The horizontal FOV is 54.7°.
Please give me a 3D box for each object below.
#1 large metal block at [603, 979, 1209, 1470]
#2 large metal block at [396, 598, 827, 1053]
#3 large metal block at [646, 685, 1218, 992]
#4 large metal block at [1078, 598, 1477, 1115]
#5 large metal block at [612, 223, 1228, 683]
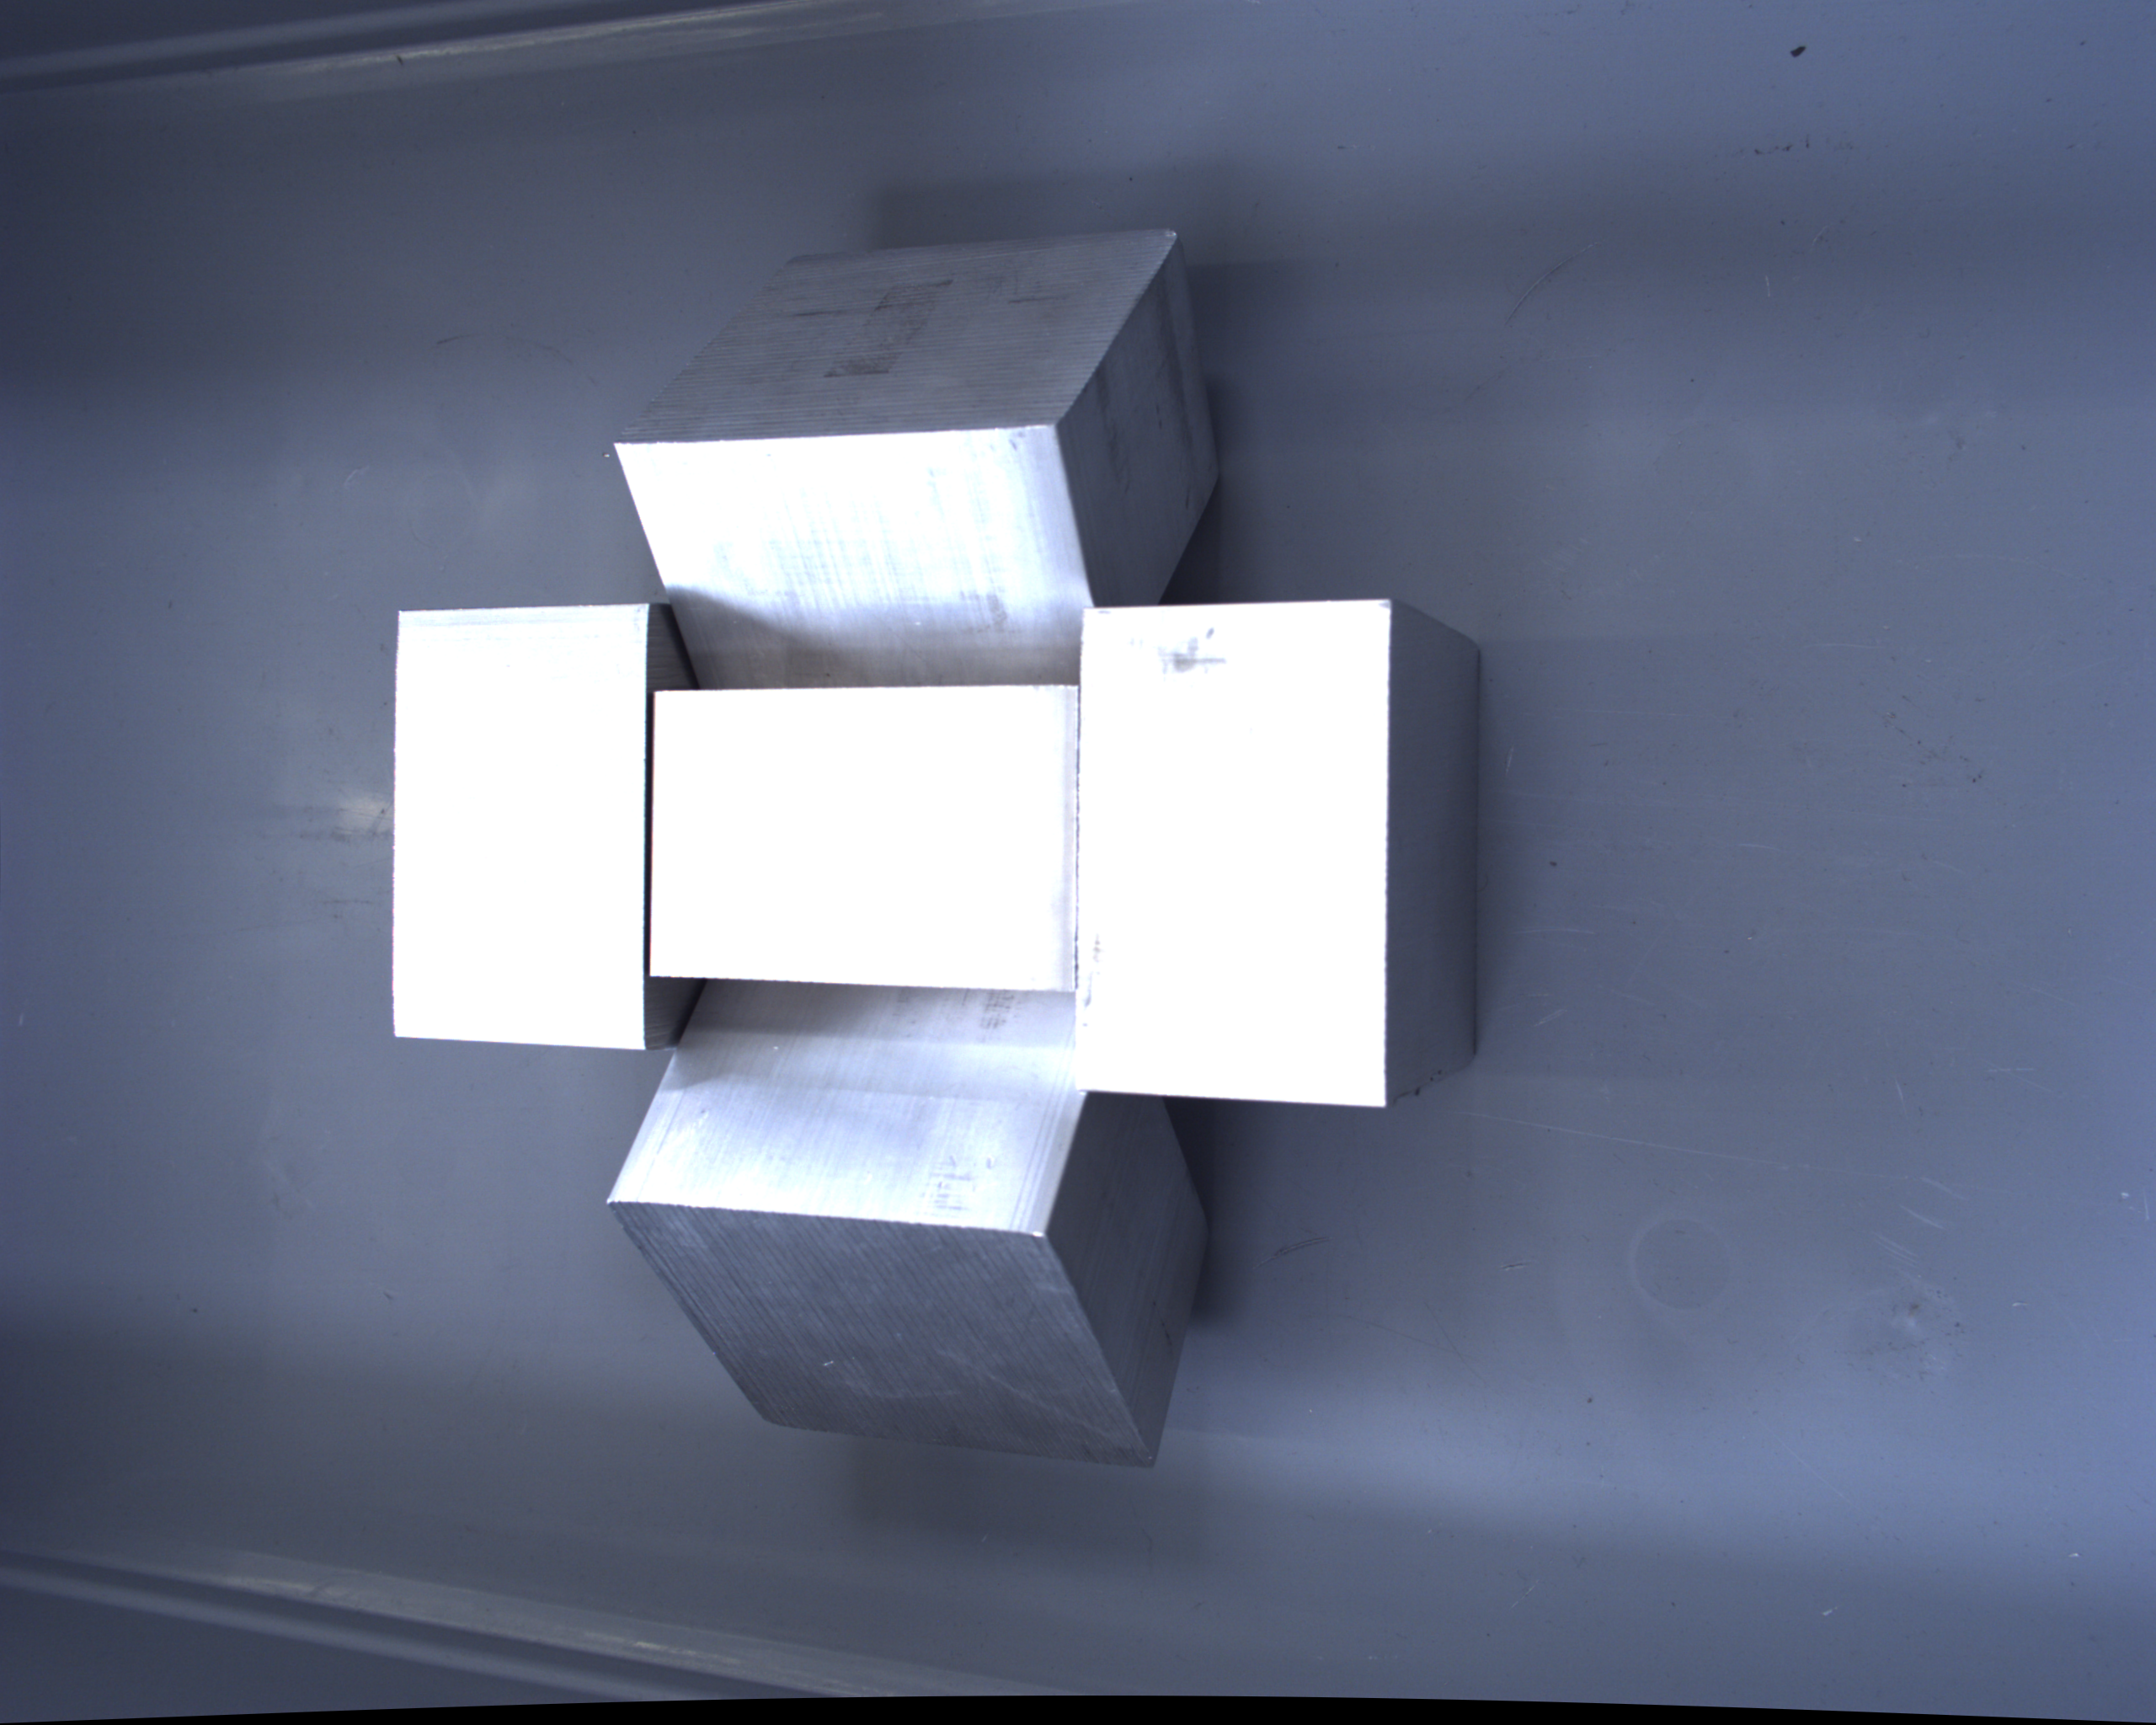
[{"bbox_3d":[-0.027,0.066,0.382,0.080,0.080,0.050,1,49,19],"label":"large metal block"},{"bbox_3d":[-0.087,-0.007,0.411,0.050,0.080,0.080,1,90,20],"label":"large metal block"},{"bbox_3d":[-0.023,-0.005,0.388,0.080,0.080,0.050,1,91,20],"label":"large metal block"},{"bbox_3d":[0.038,-0.002,0.367,0.050,0.080,0.080,1,90,20],"label":"large metal block"},{"bbox_3d":[-0.024,-0.075,0.382,0.080,0.080,0.050,2,128,20],"label":"large metal block"}]
